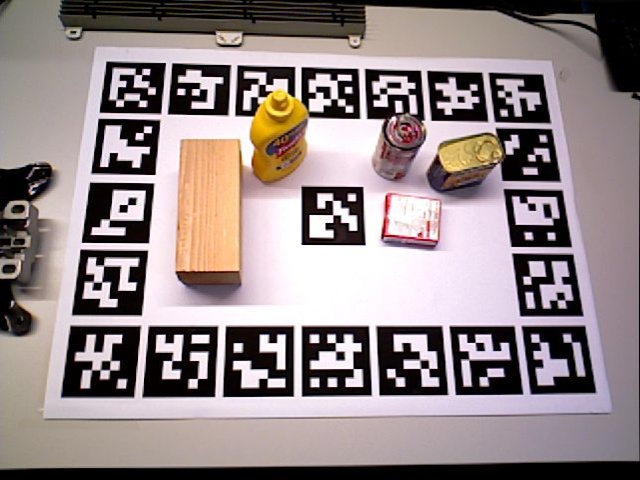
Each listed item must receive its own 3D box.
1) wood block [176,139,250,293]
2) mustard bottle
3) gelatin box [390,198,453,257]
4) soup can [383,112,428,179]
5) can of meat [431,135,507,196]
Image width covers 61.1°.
[{"bbox_3d":[-0.151,-0.036,0.795,0.090,0.091,0.204,2,68,-6],"label":"wood block"},{"bbox_3d":[-0.052,-0.150,0.789,0.095,0.194,0.058,-24,74,-14],"label":"mustard bottle"},{"bbox_3d":[0.157,-0.019,0.838,0.089,0.030,0.073,10,74,2],"label":"gelatin box"},{"bbox_3d":[0.138,-0.143,0.834,0.067,0.103,0.067,1,73,-4],"label":"soup can"},{"bbox_3d":[0.233,-0.115,0.851,0.101,0.085,0.057,-12,73,-11],"label":"can of meat"}]
